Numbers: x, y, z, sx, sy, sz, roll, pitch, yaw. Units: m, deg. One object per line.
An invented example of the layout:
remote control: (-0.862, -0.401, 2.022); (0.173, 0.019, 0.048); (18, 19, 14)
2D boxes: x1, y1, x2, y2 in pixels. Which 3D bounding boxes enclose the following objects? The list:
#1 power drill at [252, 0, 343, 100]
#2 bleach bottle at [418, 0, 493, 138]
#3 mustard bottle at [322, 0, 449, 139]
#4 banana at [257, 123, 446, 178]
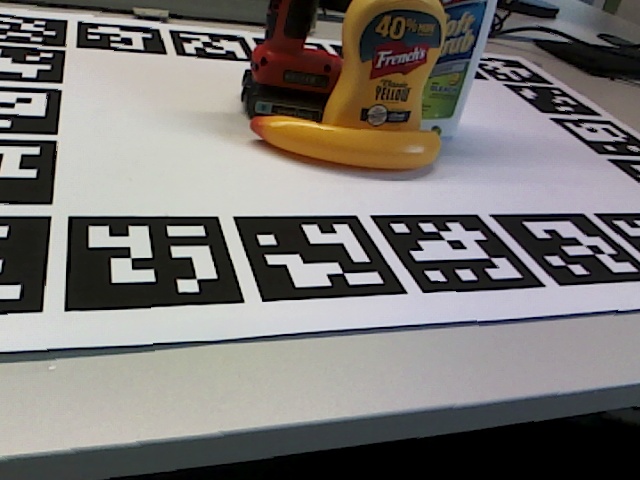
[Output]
power drill: (0.012, -0.233, 0.598); (0.184, 0.187, 0.057); (7, 34, -10)
bleach bottle: (0.120, -0.231, 0.621); (0.102, 0.250, 0.068); (0, 31, -17)
mustard bottle: (0.066, -0.175, 0.568); (0.096, 0.191, 0.059); (0, 37, -19)
banana: (0.039, -0.088, 0.587); (0.197, 0.039, 0.074); (0, 38, -14)
